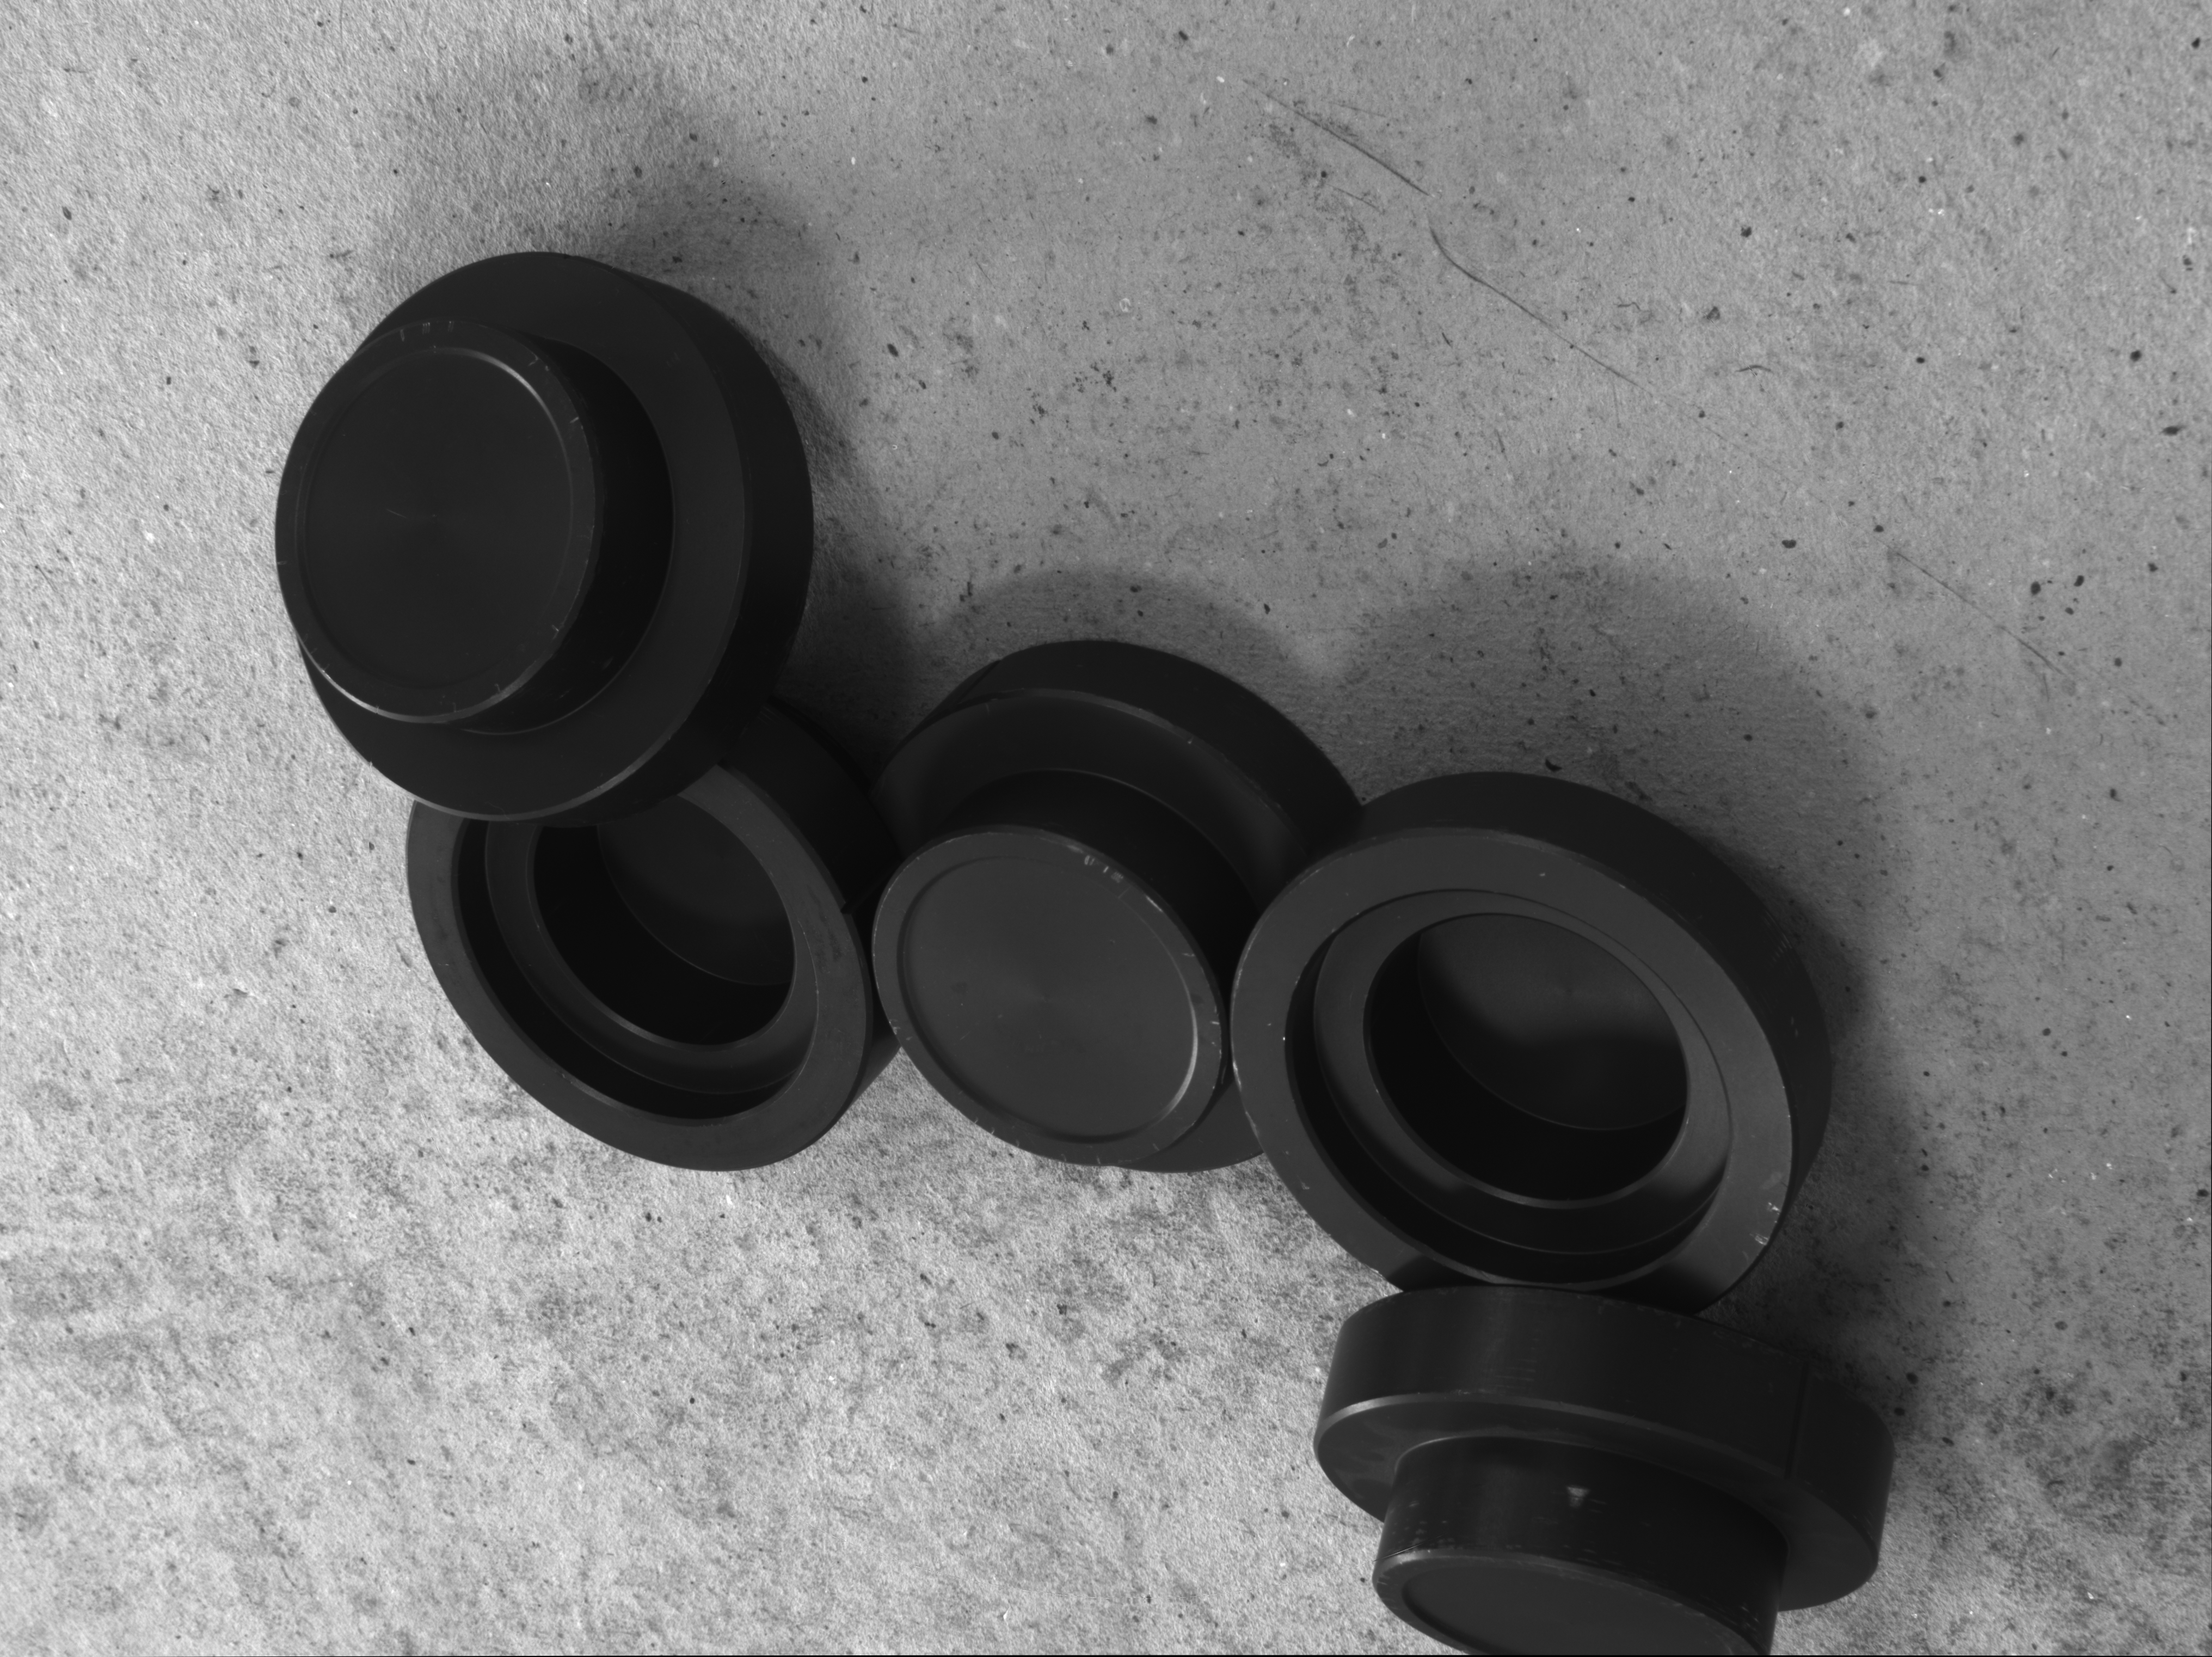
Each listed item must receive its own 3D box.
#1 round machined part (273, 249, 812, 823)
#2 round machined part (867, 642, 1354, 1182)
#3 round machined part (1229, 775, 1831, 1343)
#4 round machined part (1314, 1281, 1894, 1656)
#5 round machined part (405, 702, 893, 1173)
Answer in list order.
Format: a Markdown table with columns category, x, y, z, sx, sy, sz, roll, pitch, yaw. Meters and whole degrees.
| category | x | y | z | sx | sy | sz | roll | pitch | yaw |
| --- | --- | --- | --- | --- | --- | --- | --- | --- | --- |
| round machined part | -0.103 | -0.050 | 0.627 | 0.098 | 0.042 | 0.098 | -2 | 87 | 27 |
| round machined part | -0.002 | 0.020 | 0.643 | 0.098 | 0.042 | 0.098 | 14 | 122 | 23 |
| round machined part | 0.073 | 0.034 | 0.612 | 0.098 | 0.042 | 0.098 | 14 | 125 | 21 |
| round machined part | 0.083 | 0.118 | 0.630 | 0.098 | 0.042 | 0.098 | 13 | 152 | 7 |
| round machined part | -0.077 | 0.012 | 0.680 | 0.098 | 0.042 | 0.098 | 14 | 125 | 21 |
